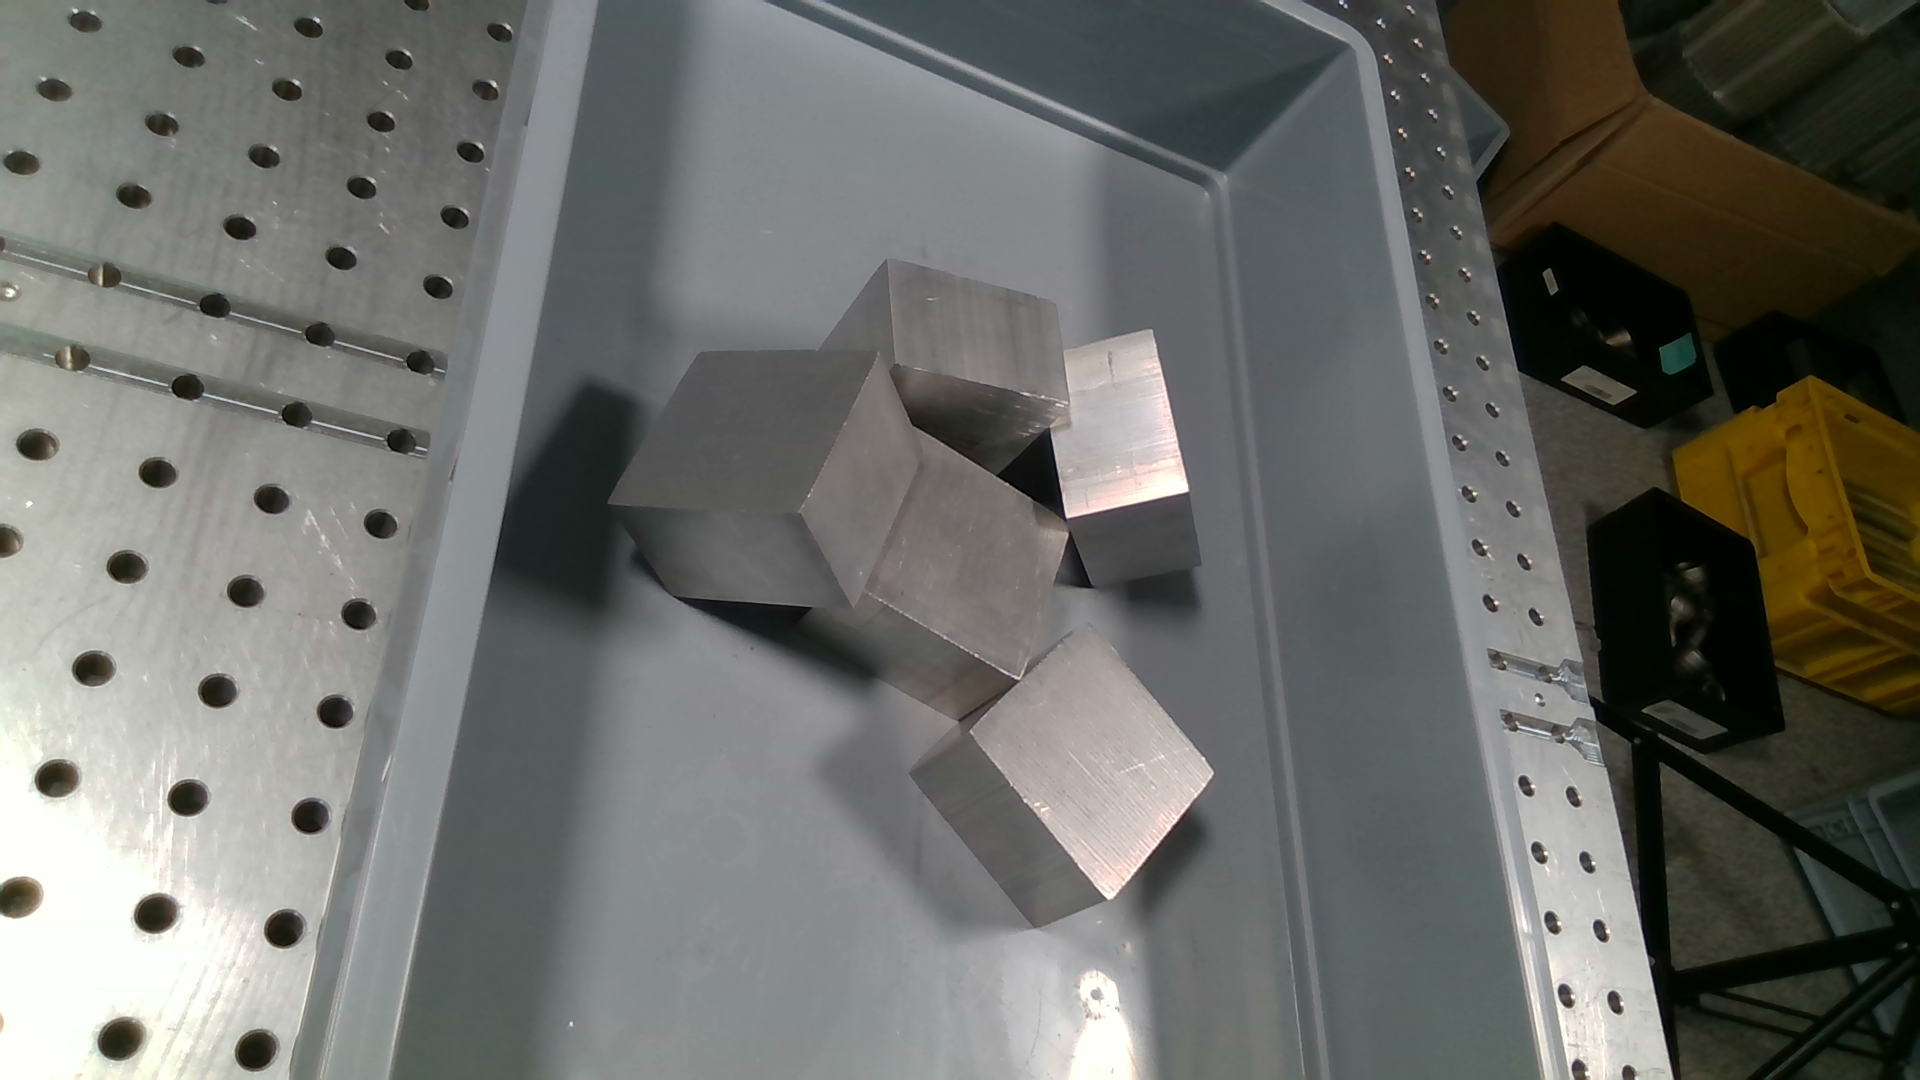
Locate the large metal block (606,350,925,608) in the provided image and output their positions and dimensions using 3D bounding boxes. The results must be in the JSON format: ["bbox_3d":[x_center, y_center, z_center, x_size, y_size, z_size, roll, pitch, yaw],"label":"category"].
[{"bbox_3d":[-0.070,-0.024,0.511,0.050,0.080,0.080,65,37,-45],"label":"large metal block"}]

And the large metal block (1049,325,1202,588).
[{"bbox_3d":[0.071,-0.034,0.604,0.050,0.080,0.080,-12,65,9],"label":"large metal block"}]

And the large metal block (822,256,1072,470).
[{"bbox_3d":[-0.011,-0.067,0.579,0.080,0.080,0.050,9,61,-28],"label":"large metal block"}]

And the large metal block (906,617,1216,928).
[{"bbox_3d":[0.041,0.091,0.545,0.080,0.050,0.080,50,51,1],"label":"large metal block"}]

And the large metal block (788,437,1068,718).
[{"bbox_3d":[-0.011,0.014,0.556,0.080,0.050,0.080,31,53,-14],"label":"large metal block"}]
